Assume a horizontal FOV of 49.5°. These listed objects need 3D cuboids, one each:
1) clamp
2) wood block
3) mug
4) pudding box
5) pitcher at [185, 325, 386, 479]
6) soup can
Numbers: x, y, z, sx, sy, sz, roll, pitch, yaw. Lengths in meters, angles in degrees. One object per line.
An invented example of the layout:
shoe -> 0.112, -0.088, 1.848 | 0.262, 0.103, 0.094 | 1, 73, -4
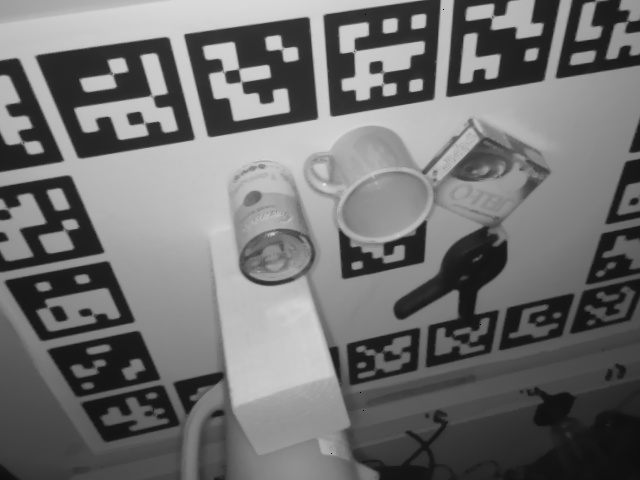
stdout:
clamp -> 0.177, 0.057, 0.823 | 0.123, 0.037, 0.163 | 16, 124, -19
wood block -> -0.038, 0.089, 0.659 | 0.090, 0.207, 0.090 | -11, 133, -1
mug -> 0.049, -0.053, 0.647 | 0.118, 0.082, 0.092 | 18, 126, -30
pudding box -> 0.187, -0.061, 0.714 | 0.115, 0.039, 0.089 | 20, 119, -31
pitcher -> -0.050, 0.193, 0.726 | 0.190, 0.243, 0.132 | -13, 135, -8
soup can -> -0.038, -0.014, 0.640 | 0.068, 0.102, 0.067 | -8, 130, -9
